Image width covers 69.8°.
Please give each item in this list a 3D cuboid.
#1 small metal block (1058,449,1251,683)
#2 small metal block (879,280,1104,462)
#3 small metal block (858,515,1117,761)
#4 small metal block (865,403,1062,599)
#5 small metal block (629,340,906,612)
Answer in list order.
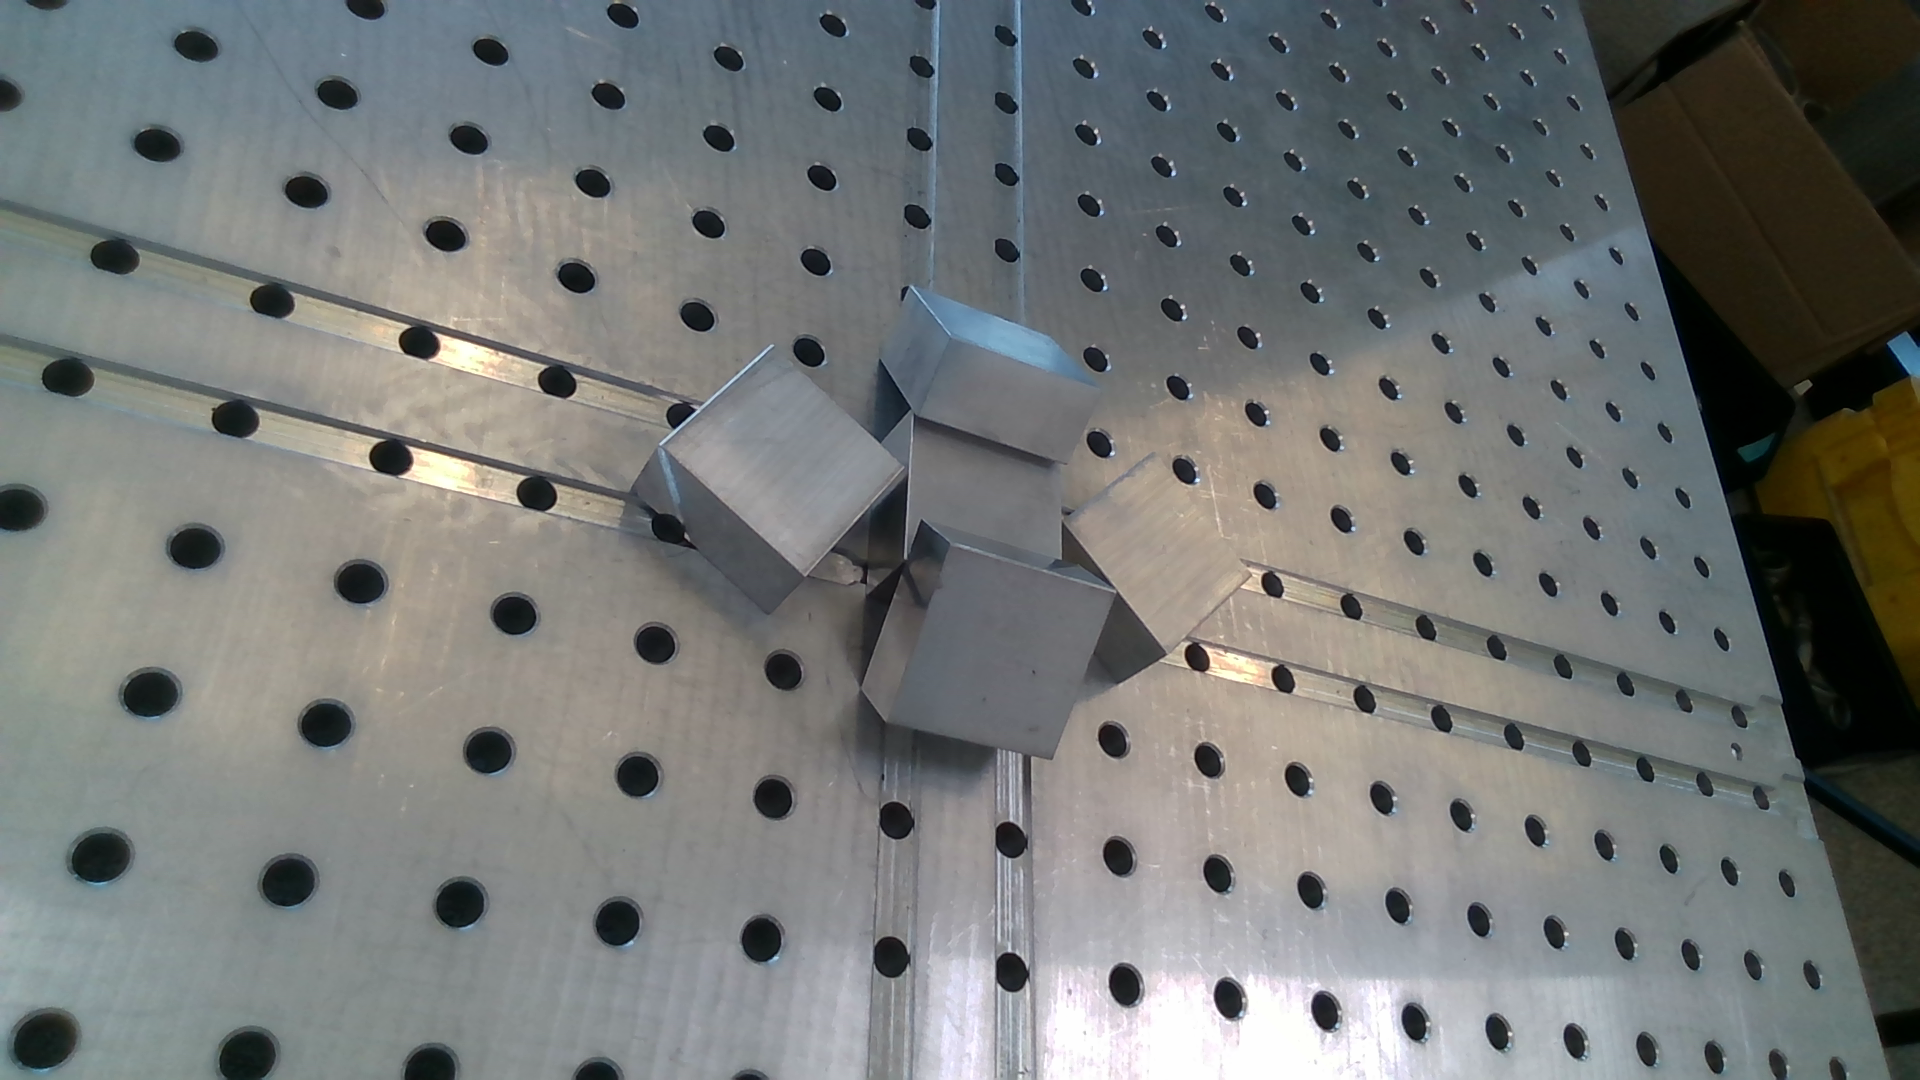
[{"bbox_3d":[0.054,0.007,0.426,0.050,0.025,0.050,-35,87,-40],"label":"small metal block"},{"bbox_3d":[0.008,-0.051,0.412,0.050,0.025,0.050,16,21,-23],"label":"small metal block"},{"bbox_3d":[0.007,0.026,0.369,0.050,0.025,0.050,17,98,-24],"label":"small metal block"},{"bbox_3d":[0.002,-0.006,0.400,0.050,0.025,0.050,16,58,-25],"label":"small metal block"},{"bbox_3d":[-0.051,-0.018,0.373,0.050,0.025,0.050,43,50,-4],"label":"small metal block"}]
